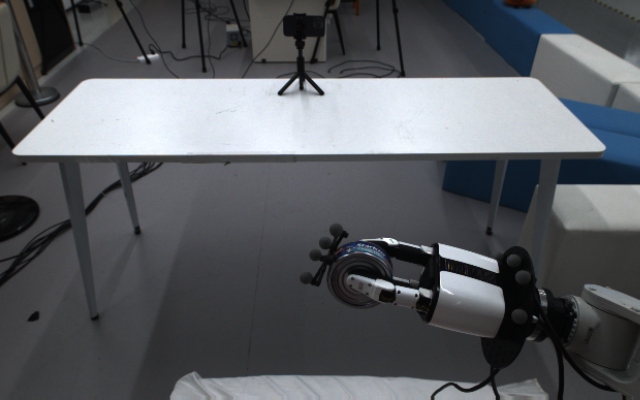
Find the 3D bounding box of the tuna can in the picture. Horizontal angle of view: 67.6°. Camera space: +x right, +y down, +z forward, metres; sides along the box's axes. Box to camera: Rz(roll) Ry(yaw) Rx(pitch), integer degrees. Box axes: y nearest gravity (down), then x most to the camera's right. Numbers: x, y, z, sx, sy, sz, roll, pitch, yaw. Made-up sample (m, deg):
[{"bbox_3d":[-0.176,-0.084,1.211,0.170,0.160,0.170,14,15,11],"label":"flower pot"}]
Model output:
[{"bbox_3d":[0.056,0.096,0.630,0.085,0.085,0.034,3,20,1],"label":"tuna can"}]
